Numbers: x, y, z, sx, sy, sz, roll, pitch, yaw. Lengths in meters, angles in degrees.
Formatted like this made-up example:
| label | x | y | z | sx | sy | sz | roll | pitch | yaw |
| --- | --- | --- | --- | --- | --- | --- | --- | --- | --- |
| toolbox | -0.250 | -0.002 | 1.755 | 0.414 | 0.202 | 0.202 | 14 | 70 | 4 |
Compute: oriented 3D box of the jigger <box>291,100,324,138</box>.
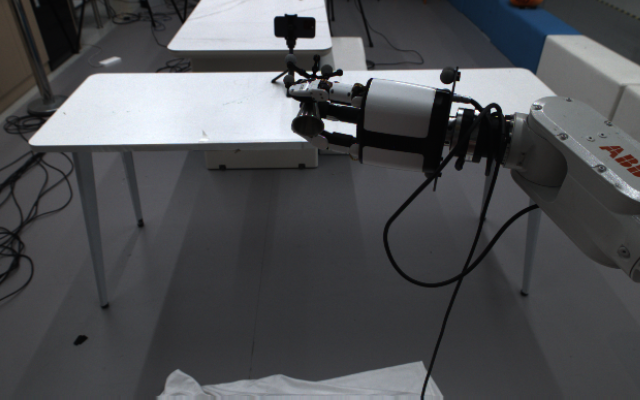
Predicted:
| label | x | y | z | sx | sy | sz | roll | pitch | yaw |
| --- | --- | --- | --- | --- | --- | --- | --- | --- | --- |
| jigger | -0.015 | -0.130 | 0.660 | 0.043 | 0.043 | 0.071 | 4 | 61 | 3 |
